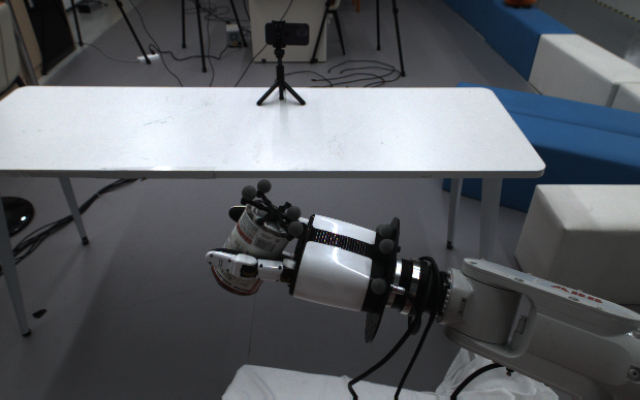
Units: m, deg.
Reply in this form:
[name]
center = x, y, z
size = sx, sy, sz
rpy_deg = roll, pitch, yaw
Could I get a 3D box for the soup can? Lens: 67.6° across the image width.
[soup can]
center = -0.081, 0.060, 0.600
size = 0.067, 0.101, 0.067
rpy_deg = 28, 22, -12
